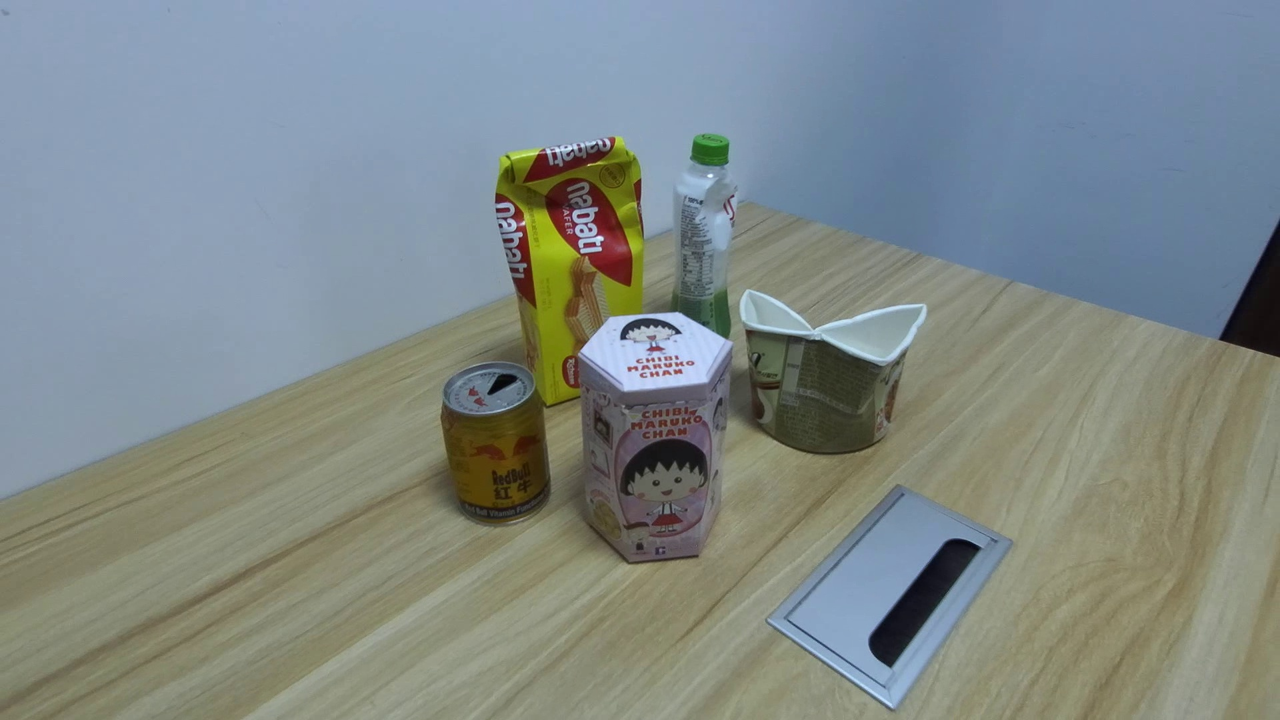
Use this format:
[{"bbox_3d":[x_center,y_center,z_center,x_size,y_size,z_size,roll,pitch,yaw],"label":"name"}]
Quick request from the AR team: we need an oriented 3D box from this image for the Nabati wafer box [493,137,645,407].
[{"bbox_3d":[-0.049,-0.066,0.564,0.113,0.205,0.042,-17,34,-22],"label":"Nabati wafer box"}]

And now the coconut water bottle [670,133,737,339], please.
[{"bbox_3d":[0.057,-0.105,0.632,0.069,0.187,0.069,2,29,-1],"label":"coconut water bottle"}]

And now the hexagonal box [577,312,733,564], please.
[{"bbox_3d":[0.010,0.050,0.440,0.091,0.136,0.083,-5,32,-7],"label":"hexagonal box"}]

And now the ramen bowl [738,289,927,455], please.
[{"bbox_3d":[0.140,0.001,0.554,0.128,0.093,0.112,17,37,26],"label":"ramen bowl"}]
